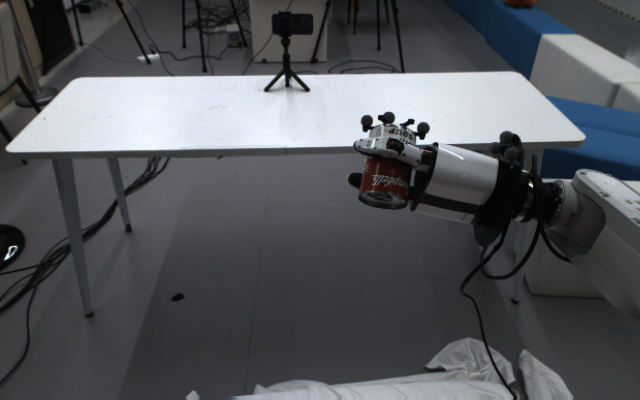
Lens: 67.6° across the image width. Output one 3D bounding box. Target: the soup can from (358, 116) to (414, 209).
[{"bbox_3d":[0.094,-0.045,0.666,0.067,0.067,0.101,8,72,9],"label":"soup can"}]
